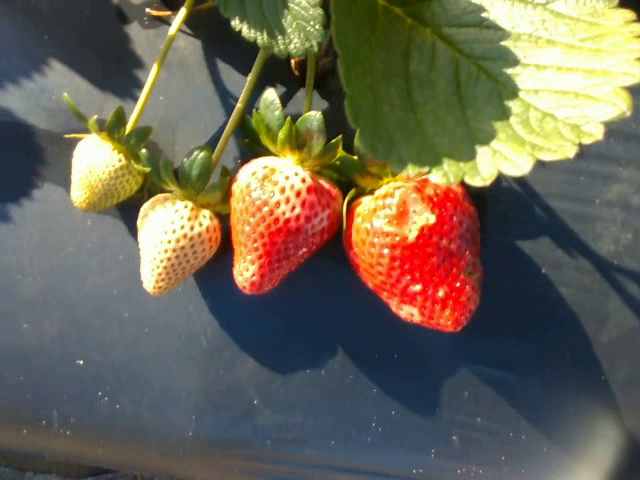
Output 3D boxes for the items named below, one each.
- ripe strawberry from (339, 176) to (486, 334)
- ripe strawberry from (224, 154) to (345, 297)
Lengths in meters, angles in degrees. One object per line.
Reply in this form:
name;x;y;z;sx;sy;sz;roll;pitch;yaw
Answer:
ripe strawberry;0.037;0.006;0.211;0.056;0.067;0.051;-31;-21;29
ripe strawberry;-0.016;-0.005;0.214;0.050;0.061;0.043;27;-6;-21
